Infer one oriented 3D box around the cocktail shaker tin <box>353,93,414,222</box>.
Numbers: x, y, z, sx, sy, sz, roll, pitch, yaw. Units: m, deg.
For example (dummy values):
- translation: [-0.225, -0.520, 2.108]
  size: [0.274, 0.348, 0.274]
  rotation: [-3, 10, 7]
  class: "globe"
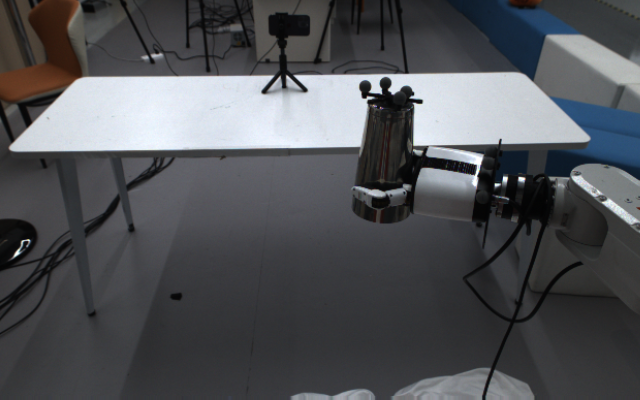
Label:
- translation: [0.099, -0.062, 0.723]
  size: [0.093, 0.170, 0.093]
  rotation: [1, 28, -1]
  class: "cocktail shaker tin"
